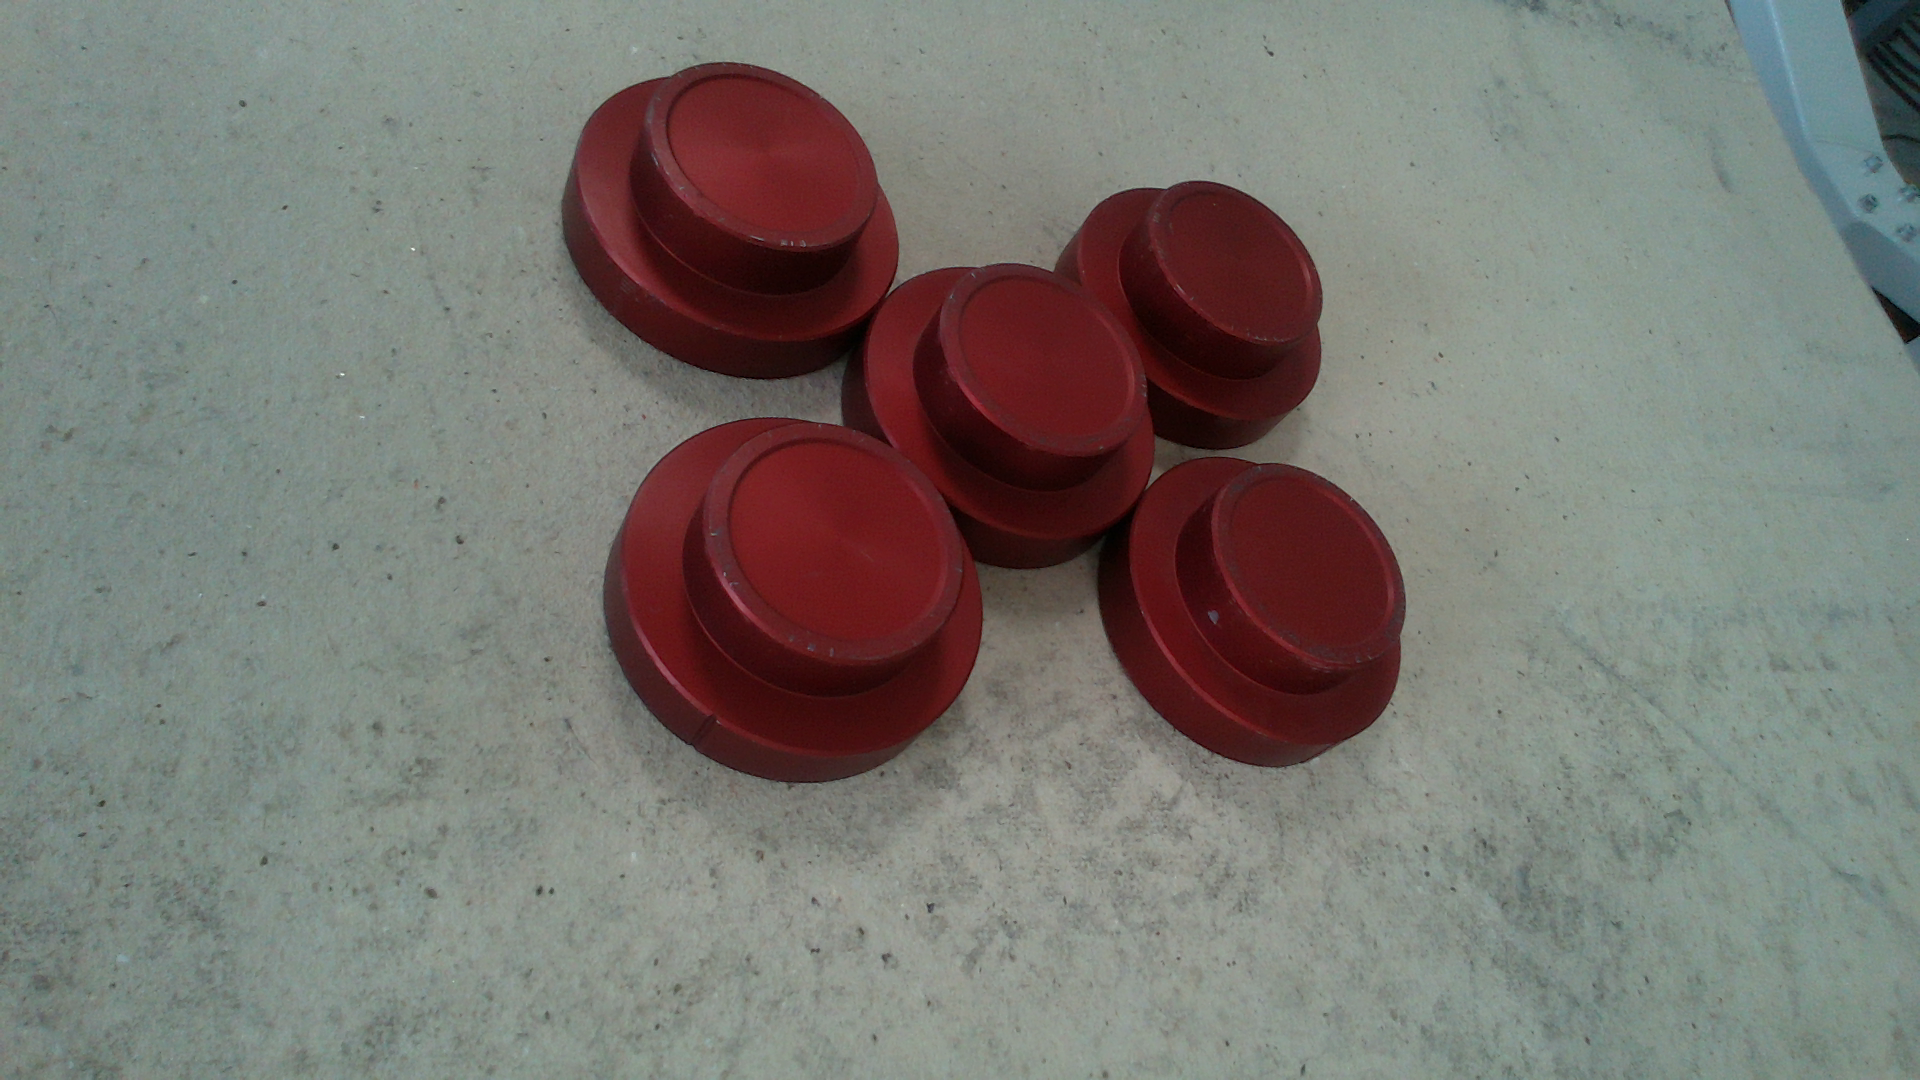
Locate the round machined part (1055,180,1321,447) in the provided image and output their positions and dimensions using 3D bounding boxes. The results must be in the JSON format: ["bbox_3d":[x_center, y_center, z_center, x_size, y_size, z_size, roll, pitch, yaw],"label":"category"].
[{"bbox_3d":[0.084,-0.084,0.475,0.098,0.042,0.098,13,58,-21],"label":"round machined part"}]

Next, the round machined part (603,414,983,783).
[{"bbox_3d":[-0.038,0.009,0.353,0.098,0.042,0.098,14,57,-21],"label":"round machined part"}]

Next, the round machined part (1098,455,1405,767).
[{"bbox_3d":[0.095,0.016,0.420,0.098,0.042,0.098,13,58,-21],"label":"round machined part"}]

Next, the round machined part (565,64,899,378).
[{"bbox_3d":[-0.063,-0.100,0.406,0.098,0.042,0.098,14,56,-21],"label":"round machined part"}]

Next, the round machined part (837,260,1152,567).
[{"bbox_3d":[0.016,-0.044,0.415,0.098,0.042,0.098,13,58,-21],"label":"round machined part"}]
